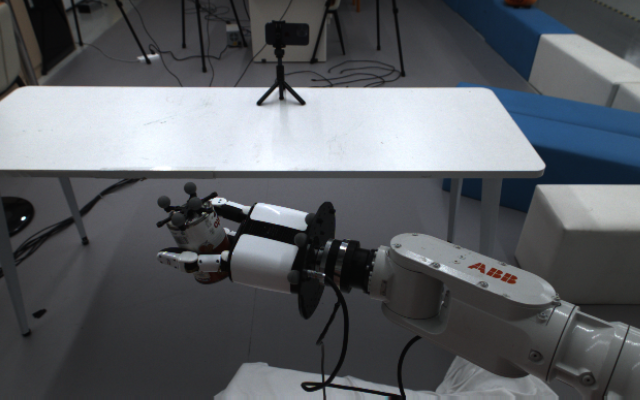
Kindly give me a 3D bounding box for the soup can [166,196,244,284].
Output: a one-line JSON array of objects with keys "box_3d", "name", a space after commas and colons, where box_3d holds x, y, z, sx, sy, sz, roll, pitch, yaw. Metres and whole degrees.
[{"box_3d": [-0.162, 0.061, 0.679, 0.067, 0.101, 0.067, -14, 31, 8], "name": "soup can"}]
